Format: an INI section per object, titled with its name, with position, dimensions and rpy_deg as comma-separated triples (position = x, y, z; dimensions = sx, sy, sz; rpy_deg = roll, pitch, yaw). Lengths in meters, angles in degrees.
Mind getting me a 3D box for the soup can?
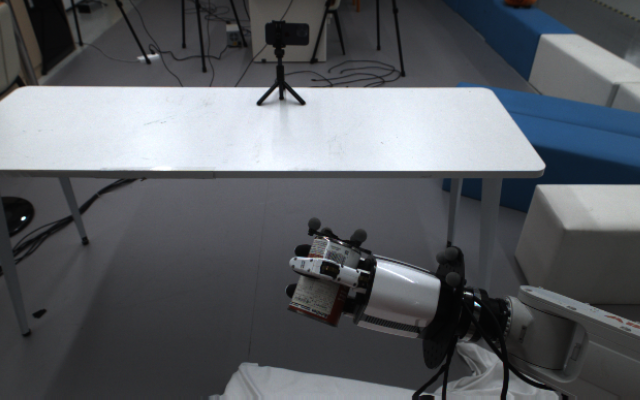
[soup can]
position = 0.009, 0.106, 0.627
dimensions = 0.067, 0.067, 0.101
rpy_deg = 15, 75, 18
